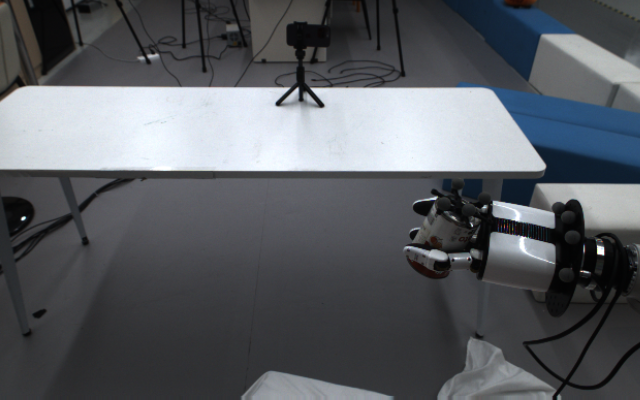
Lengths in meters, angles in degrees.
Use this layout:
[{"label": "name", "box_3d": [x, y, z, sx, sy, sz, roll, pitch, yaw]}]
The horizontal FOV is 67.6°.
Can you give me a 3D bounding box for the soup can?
[{"label": "soup can", "box_3d": [0.172, 0.051, 0.675, 0.067, 0.101, 0.067, 14, 36, -10]}]
